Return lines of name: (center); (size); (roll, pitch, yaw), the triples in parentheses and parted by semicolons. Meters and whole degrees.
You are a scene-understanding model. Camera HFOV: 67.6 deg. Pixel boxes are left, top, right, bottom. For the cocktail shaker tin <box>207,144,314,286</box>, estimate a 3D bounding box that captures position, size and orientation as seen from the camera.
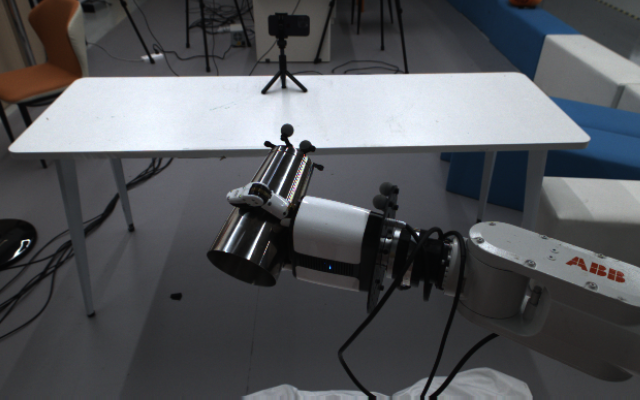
cocktail shaker tin: (-0.068, 0.016, 0.624); (0.093, 0.093, 0.170); (14, 61, 17)
